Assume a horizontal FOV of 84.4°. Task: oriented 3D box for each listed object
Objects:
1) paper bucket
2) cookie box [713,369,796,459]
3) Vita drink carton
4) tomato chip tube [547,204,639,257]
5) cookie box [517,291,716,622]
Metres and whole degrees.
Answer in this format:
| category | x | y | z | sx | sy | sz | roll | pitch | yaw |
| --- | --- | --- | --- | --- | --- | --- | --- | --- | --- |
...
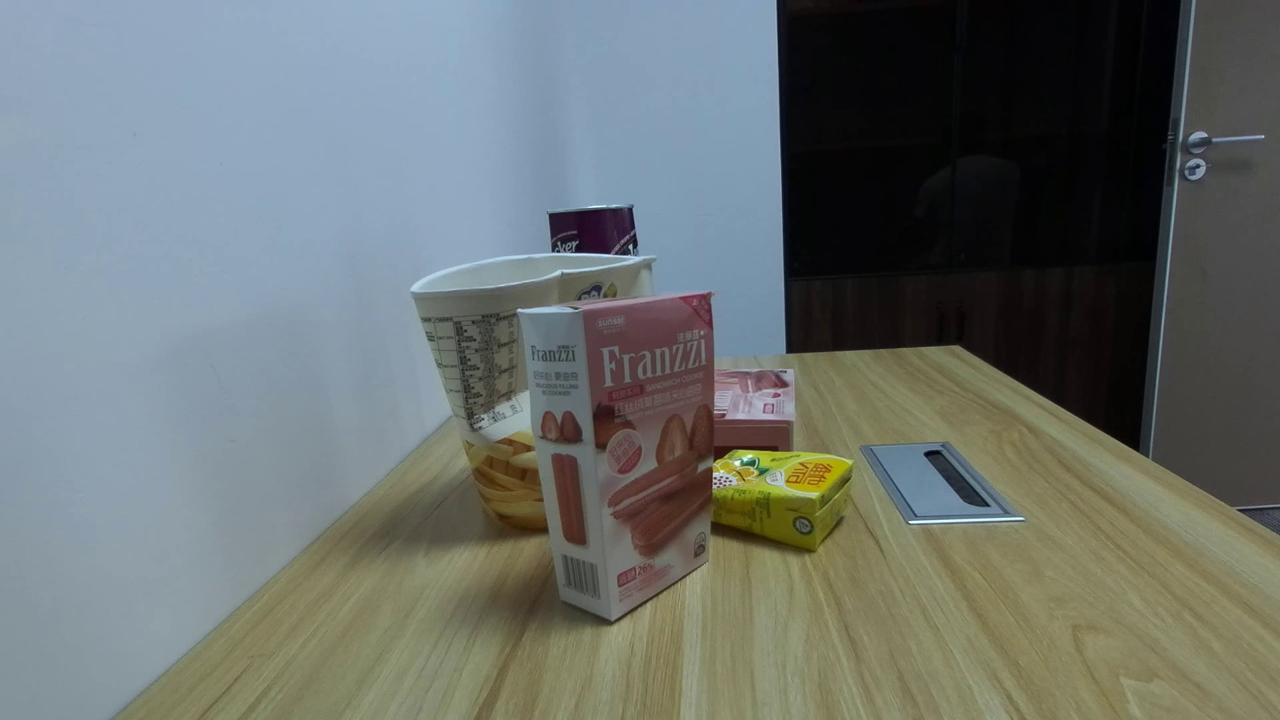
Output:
| category | x | y | z | sx | sy | sz | roll | pitch | yaw |
| --- | --- | --- | --- | --- | --- | --- | --- | --- | --- |
| paper bucket | -0.063 | 0.016 | 0.581 | 0.147 | 0.199 | 0.218 | 0 | 14 | 12 |
| cookie box | 0.105 | 0.054 | 0.699 | 0.096 | 0.048 | 0.184 | -1 | 13 | 12 |
| Vita drink carton | 0.094 | 0.099 | 0.520 | 0.108 | 0.042 | 0.087 | 2 | 19 | 40 |
| tomato chip tube | -0.042 | -0.044 | 0.748 | 0.077 | 0.235 | 0.076 | 1 | 15 | 15 |
| cookie box | -0.005 | 0.053 | 0.438 | 0.119 | 0.184 | 0.055 | -14 | 16 | -39 |
